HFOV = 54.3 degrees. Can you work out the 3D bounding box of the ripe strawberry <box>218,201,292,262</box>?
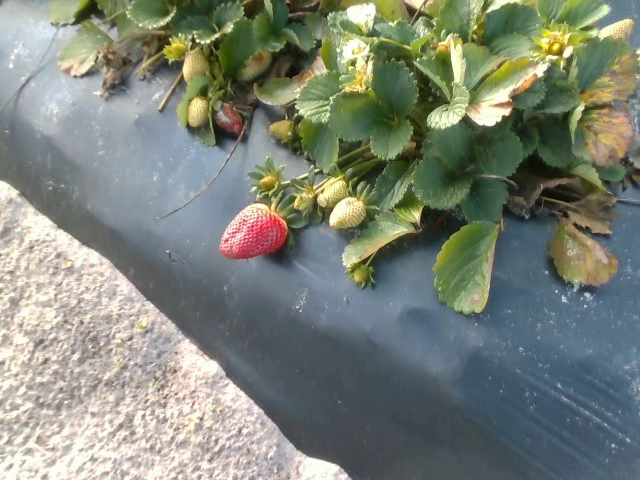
[{"bbox_3d":[-0.066,-0.006,0.586,0.052,0.067,0.045,36,-29,20],"label":"ripe strawberry"}]
